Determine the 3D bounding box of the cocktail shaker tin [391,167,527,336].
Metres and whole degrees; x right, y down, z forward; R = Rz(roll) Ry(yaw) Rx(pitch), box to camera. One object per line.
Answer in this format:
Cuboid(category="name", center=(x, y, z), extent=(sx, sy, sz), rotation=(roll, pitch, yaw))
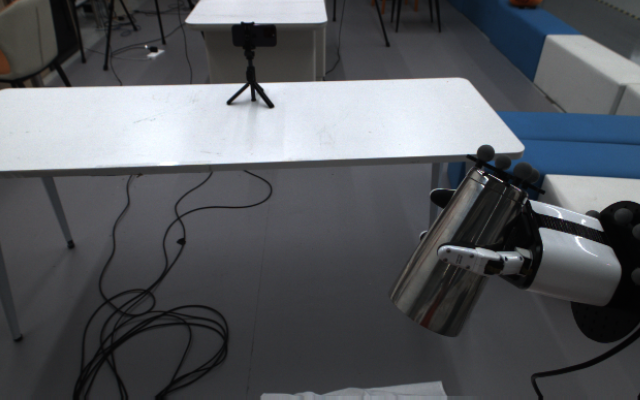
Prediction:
Cuboid(category="cocktail shaker tin", center=(0.159, 0.050, 0.537), extent=(0.093, 0.170, 0.093), rotation=(24, 13, -6))
